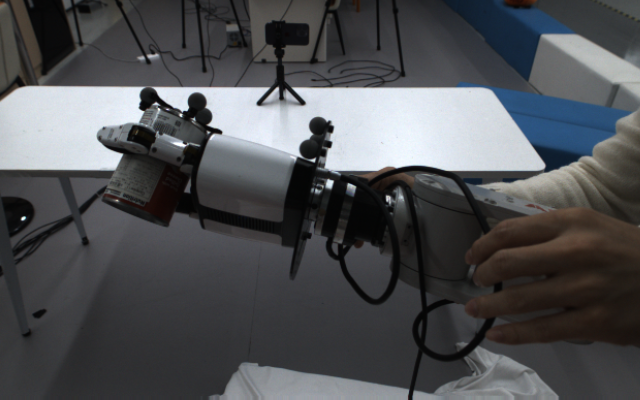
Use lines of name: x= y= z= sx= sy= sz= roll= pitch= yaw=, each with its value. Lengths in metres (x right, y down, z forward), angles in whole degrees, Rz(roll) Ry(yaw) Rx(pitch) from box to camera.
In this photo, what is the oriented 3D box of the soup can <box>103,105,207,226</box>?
soup can: x=-0.159 y=-0.033 z=0.477 sx=0.067 sy=0.067 sz=0.101 roll=16 pitch=76 yaw=19
